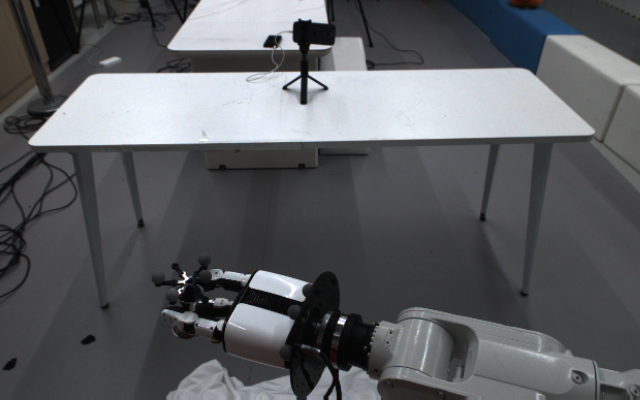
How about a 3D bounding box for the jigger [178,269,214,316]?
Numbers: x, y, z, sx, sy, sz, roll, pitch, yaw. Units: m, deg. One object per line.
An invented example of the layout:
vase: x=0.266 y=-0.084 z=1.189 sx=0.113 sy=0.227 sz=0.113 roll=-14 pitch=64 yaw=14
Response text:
jigger: x=-0.183 y=0.154 z=0.676 sx=0.043 sy=0.071 sz=0.043 roll=9 pitch=30 yaw=-5
